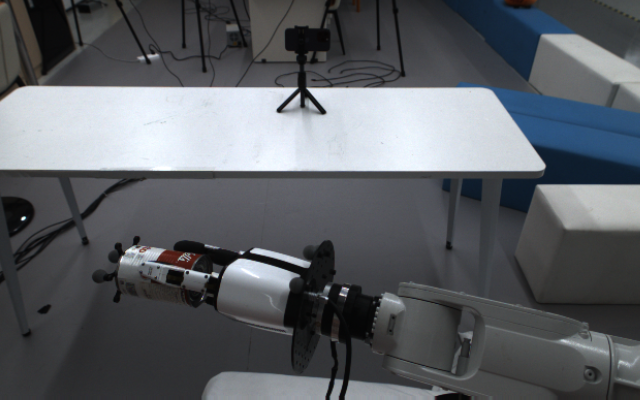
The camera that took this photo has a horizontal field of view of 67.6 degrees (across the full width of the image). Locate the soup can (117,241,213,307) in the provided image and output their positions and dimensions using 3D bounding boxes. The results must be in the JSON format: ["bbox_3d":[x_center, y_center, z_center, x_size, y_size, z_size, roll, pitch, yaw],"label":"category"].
[{"bbox_3d":[-0.196,0.098,0.620,0.101,0.067,0.067,6,35,11],"label":"soup can"}]
